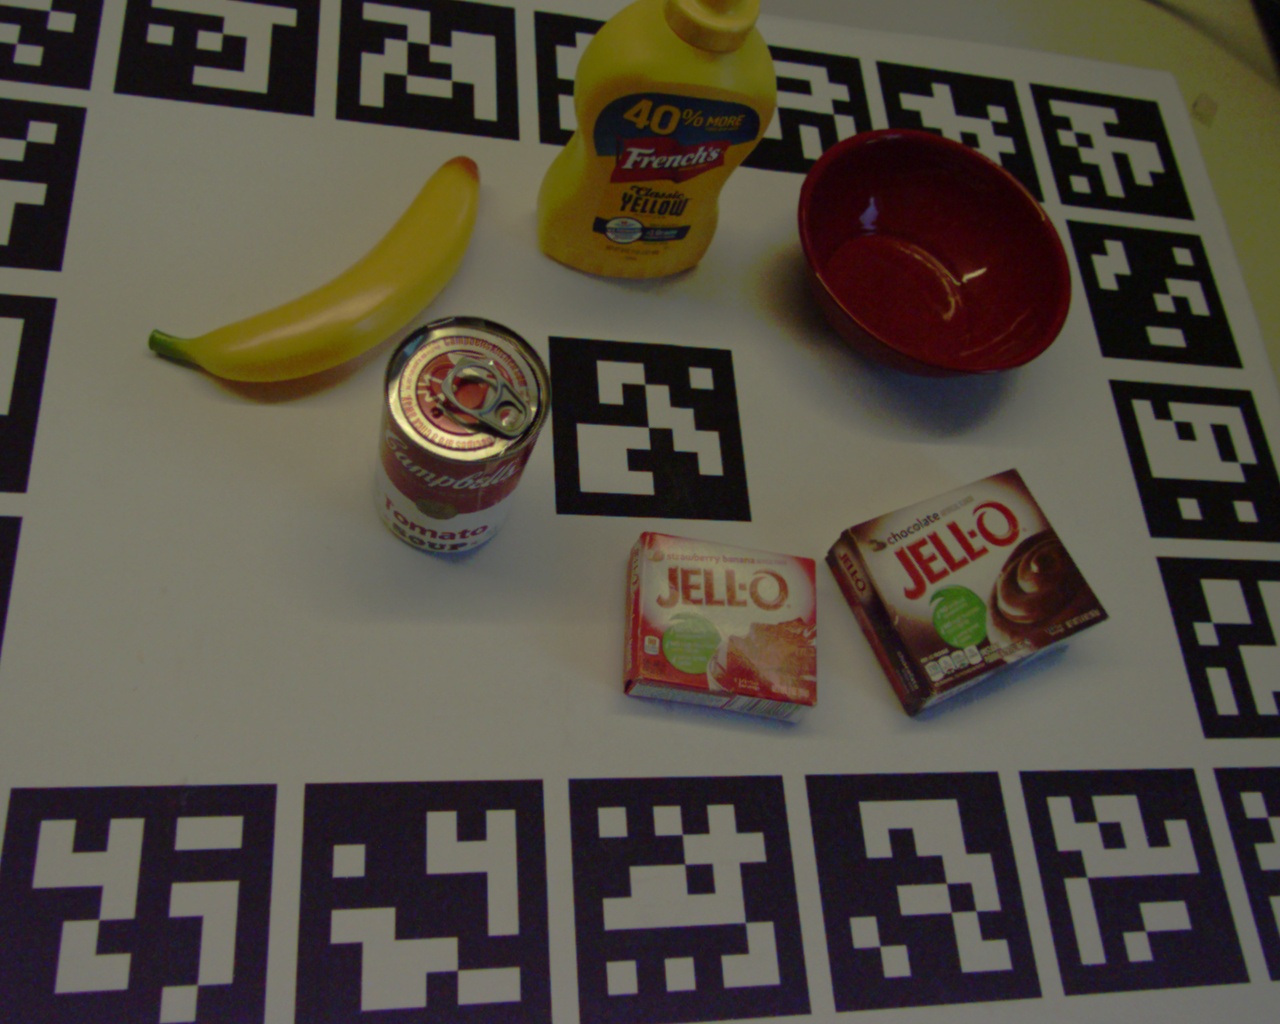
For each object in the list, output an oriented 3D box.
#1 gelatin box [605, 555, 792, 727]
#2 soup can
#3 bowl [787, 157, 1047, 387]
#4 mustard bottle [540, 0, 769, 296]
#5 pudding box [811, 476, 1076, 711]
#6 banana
[{"bbox_3d":[0.030,0.064,0.568,0.089,0.030,0.073,9,67,-10],"label":"gelatin box"},{"bbox_3d":[-0.092,-0.034,0.531,0.067,0.102,0.068,7,63,-15],"label":"soup can"},{"bbox_3d":[0.156,-0.132,0.682,0.161,0.055,0.162,5,64,-11],"label":"bowl"},{"bbox_3d":[0.012,-0.188,0.577,0.095,0.192,0.058,3,63,-15],"label":"mustard bottle"},{"bbox_3d":[0.160,0.042,0.608,0.113,0.039,0.090,-21,78,-23],"label":"pudding box"},{"bbox_3d":[-0.150,-0.122,0.603,0.075,0.039,0.196,35,61,14],"label":"banana"}]
